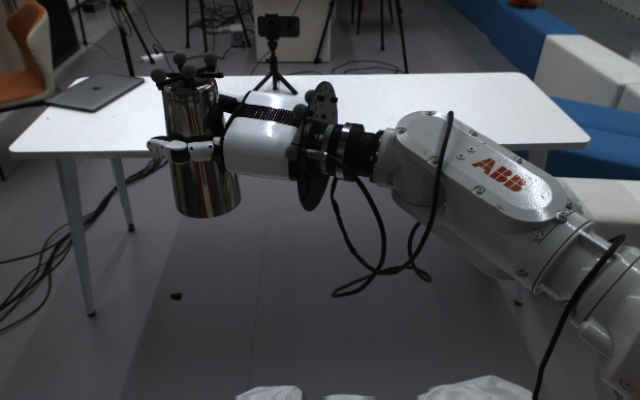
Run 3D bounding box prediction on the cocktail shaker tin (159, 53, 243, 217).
[{"bbox_3d":[-0.156,-0.072,0.634,0.093,0.170,0.093,-1,32,1],"label":"cocktail shaker tin"}]
